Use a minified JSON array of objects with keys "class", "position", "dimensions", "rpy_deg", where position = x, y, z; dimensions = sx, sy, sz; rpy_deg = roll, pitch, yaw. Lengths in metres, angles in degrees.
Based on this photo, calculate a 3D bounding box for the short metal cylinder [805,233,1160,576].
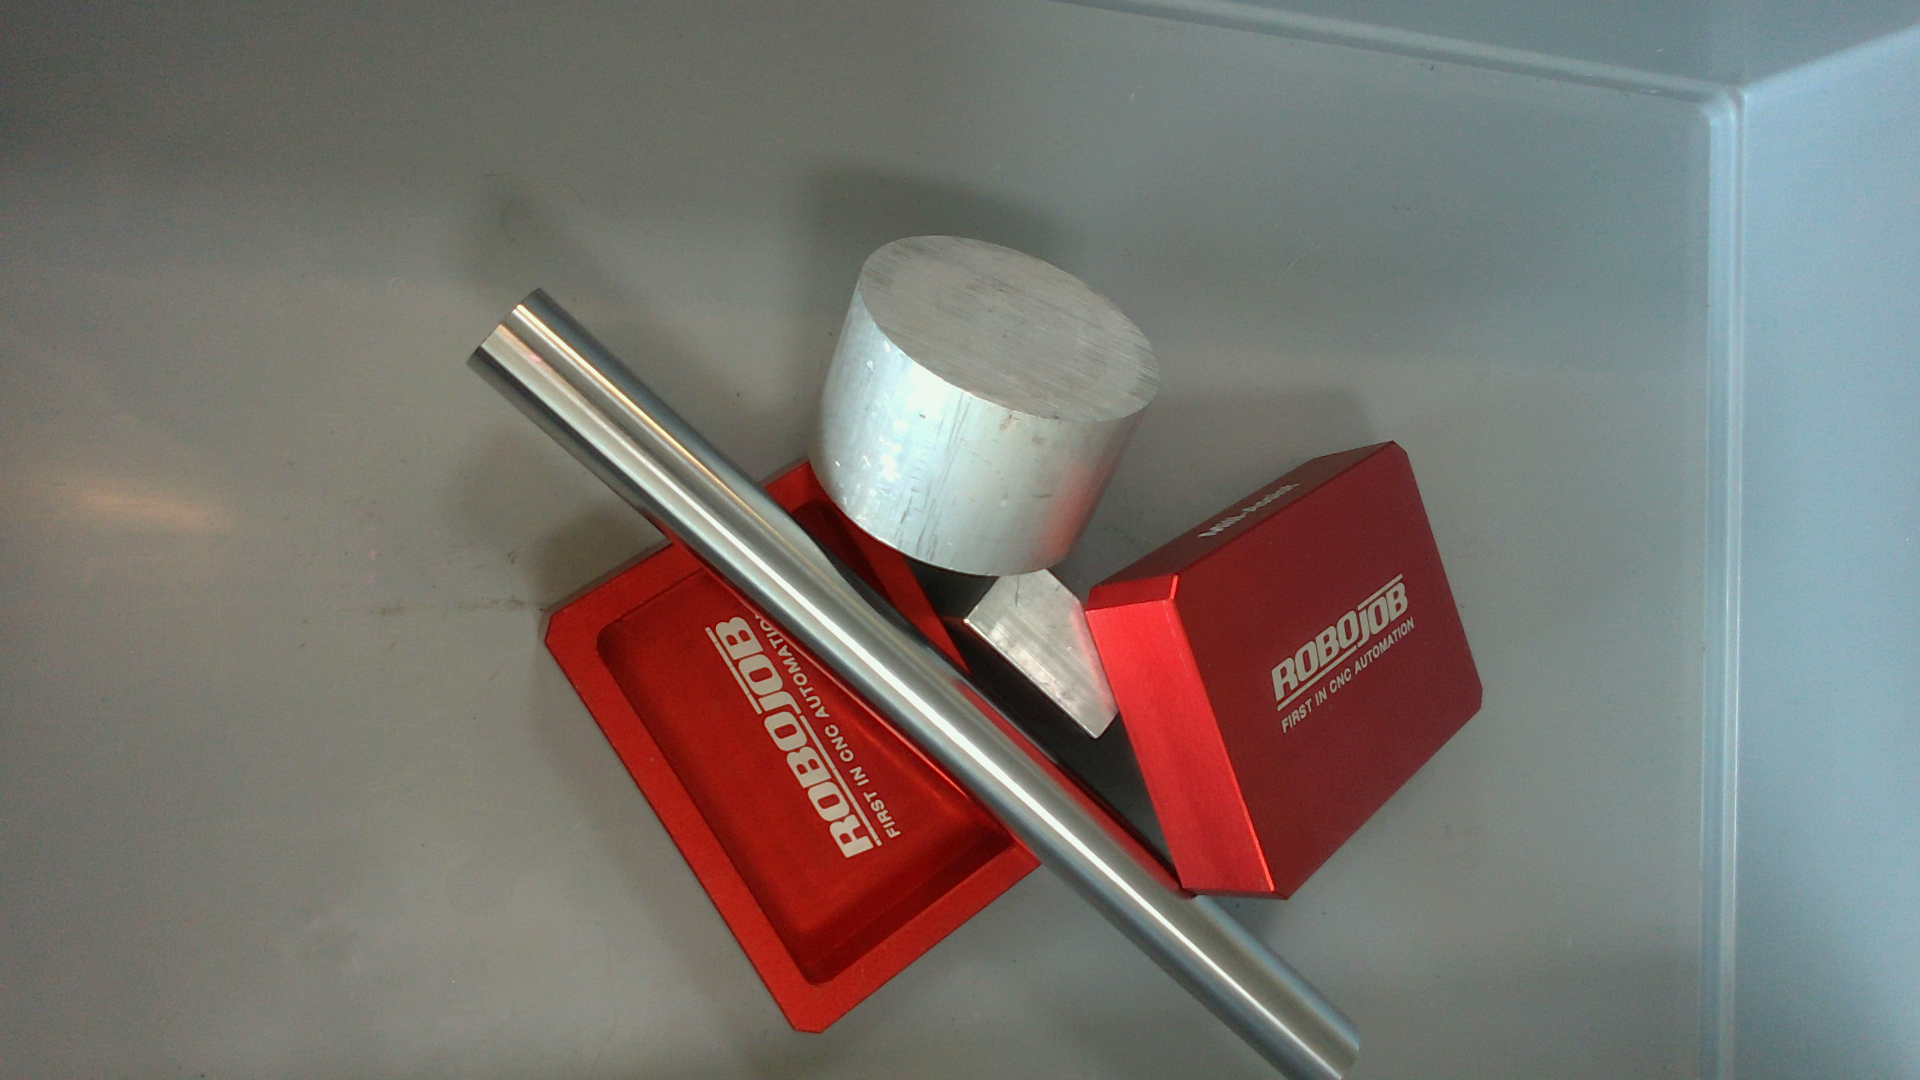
[{"class":"short metal cylinder","position":[0.005,-0.036,0.358],"dimensions":[0.080,0.080,0.050],"rpy_deg":[9,129,-20]}]

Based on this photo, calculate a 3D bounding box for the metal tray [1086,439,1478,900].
[{"class":"metal tray","position":[0.099,0.033,0.399],"dimensions":[0.131,0.030,0.090],"rpy_deg":[-26,100,-43]}]

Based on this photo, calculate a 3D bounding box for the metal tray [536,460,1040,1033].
[{"class":"metal tray","position":[-0.042,0.053,0.374],"dimensions":[0.090,0.030,0.130],"rpy_deg":[-33,101,-17]}]

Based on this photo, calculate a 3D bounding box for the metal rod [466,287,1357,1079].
[{"class":"metal rod","position":[-0.001,0.049,0.360],"dimensions":[0.300,0.025,0.025],"rpy_deg":[43,77,-15]}]

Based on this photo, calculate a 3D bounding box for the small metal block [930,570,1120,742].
[{"class":"small metal block","position":[0.018,0.028,0.385],"dimensions":[0.050,0.050,0.025],"rpy_deg":[43,77,-15]}]
